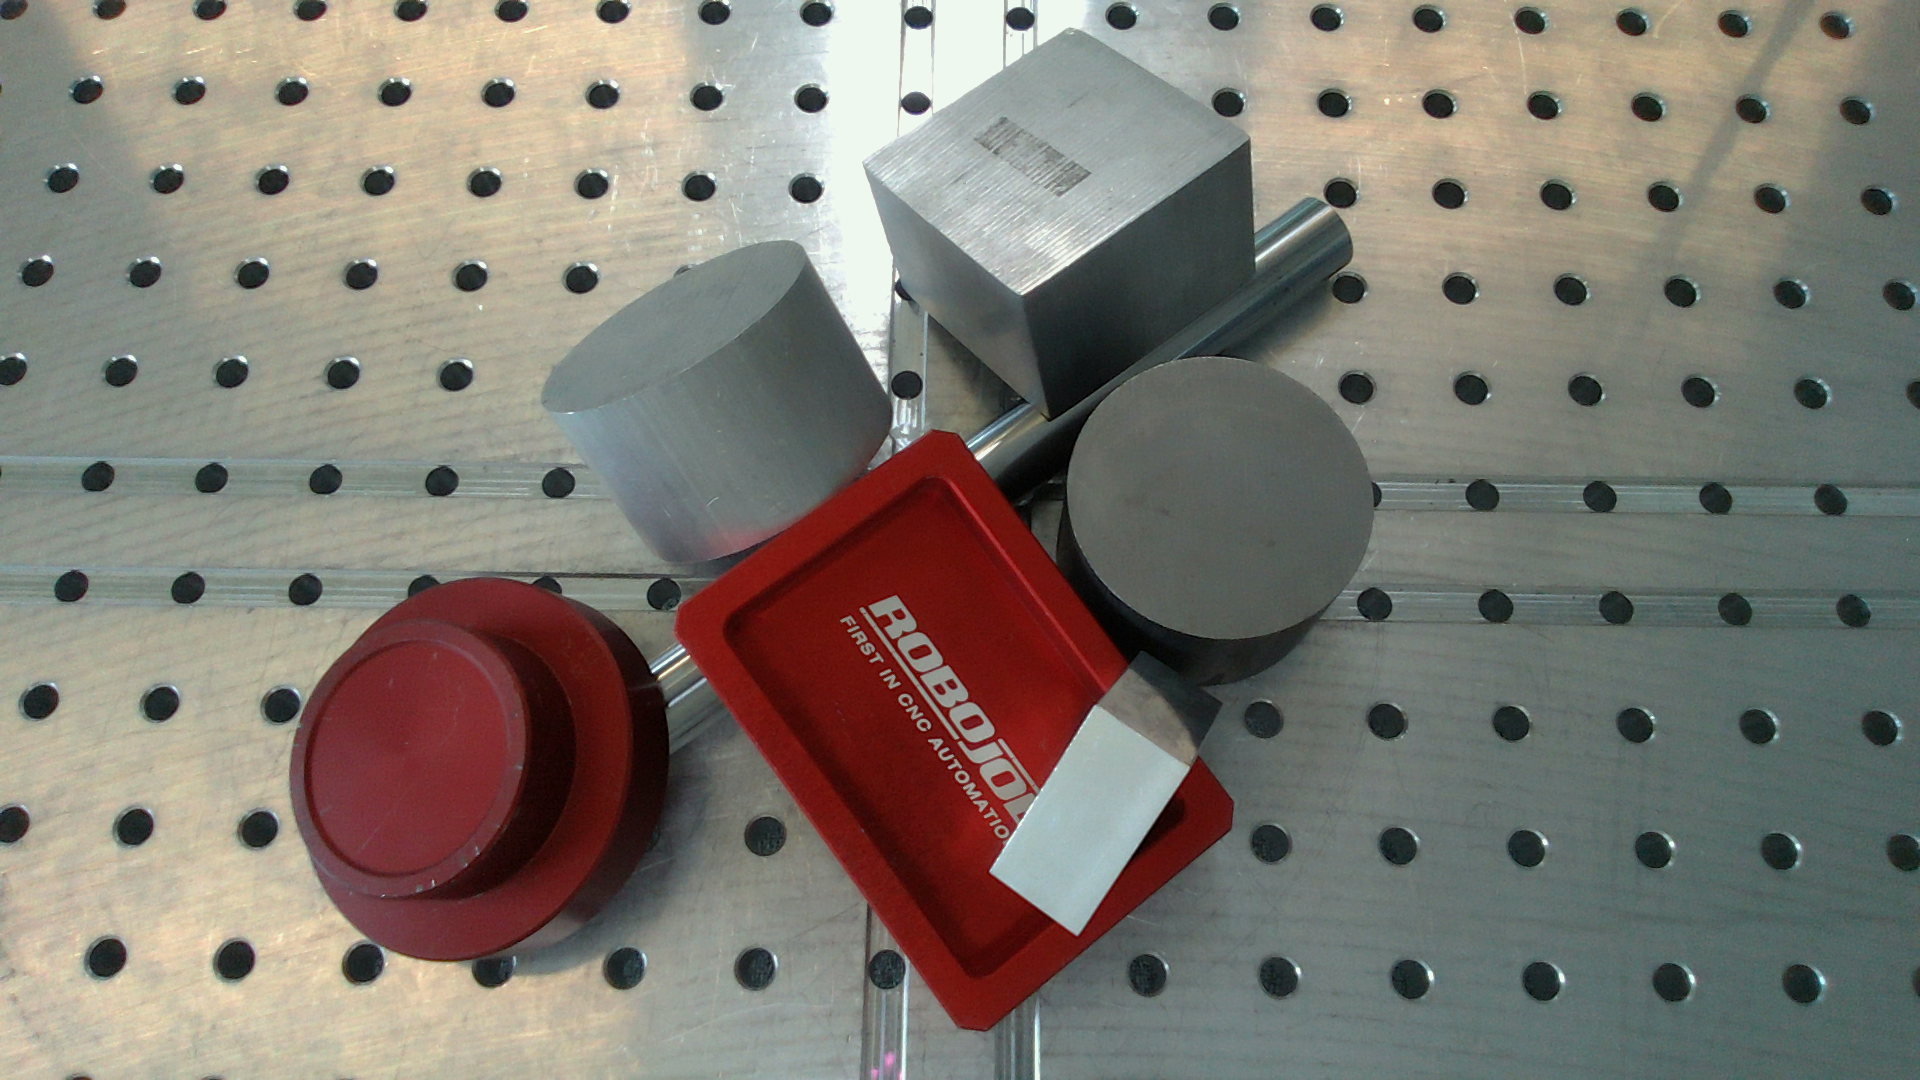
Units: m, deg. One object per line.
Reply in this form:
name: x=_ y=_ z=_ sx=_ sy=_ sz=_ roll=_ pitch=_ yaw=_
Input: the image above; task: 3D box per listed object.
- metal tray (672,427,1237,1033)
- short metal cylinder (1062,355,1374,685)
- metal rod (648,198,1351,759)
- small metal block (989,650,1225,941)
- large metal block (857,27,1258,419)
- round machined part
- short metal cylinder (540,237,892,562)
metal tray: x=-0.002 y=0.048 z=0.362 sx=0.090 sy=0.030 sz=0.130 roll=-36 pitch=86 yaw=-12
short metal cylinder: x=0.069 y=-0.004 z=0.385 sx=0.080 sy=0.050 sz=0.080 roll=0 pitch=70 yaw=0
metal rod: x=-0.005 y=-0.009 z=0.402 sx=0.300 sy=0.025 sz=0.025 roll=-36 pitch=74 yaw=-12
small metal block: x=0.037 y=0.060 z=0.331 sx=0.025 sy=0.050 sz=0.050 roll=33 pitch=108 yaw=9
large metal block: x=0.030 y=-0.095 z=0.406 sx=0.080 sy=0.050 sz=0.080 roll=-35 pitch=54 yaw=-12
round machined part: x=-0.129 y=0.057 z=0.353 sx=0.098 sy=0.042 sz=0.098 roll=-4 pitch=75 yaw=15
short metal cylinder: x=-0.066 y=-0.039 z=0.376 sx=0.080 sy=0.050 sz=0.080 roll=-21 pitch=31 yaw=14
